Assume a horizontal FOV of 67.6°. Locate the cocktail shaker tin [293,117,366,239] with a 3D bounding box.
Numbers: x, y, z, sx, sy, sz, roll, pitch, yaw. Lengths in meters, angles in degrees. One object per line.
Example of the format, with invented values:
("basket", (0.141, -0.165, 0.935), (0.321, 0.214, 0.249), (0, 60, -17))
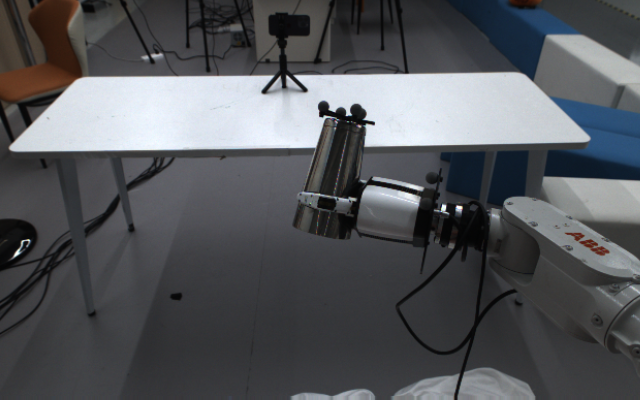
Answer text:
("cocktail shaker tin", (0.020, -0.034, 0.741), (0.093, 0.170, 0.093), (13, 4, -1))
